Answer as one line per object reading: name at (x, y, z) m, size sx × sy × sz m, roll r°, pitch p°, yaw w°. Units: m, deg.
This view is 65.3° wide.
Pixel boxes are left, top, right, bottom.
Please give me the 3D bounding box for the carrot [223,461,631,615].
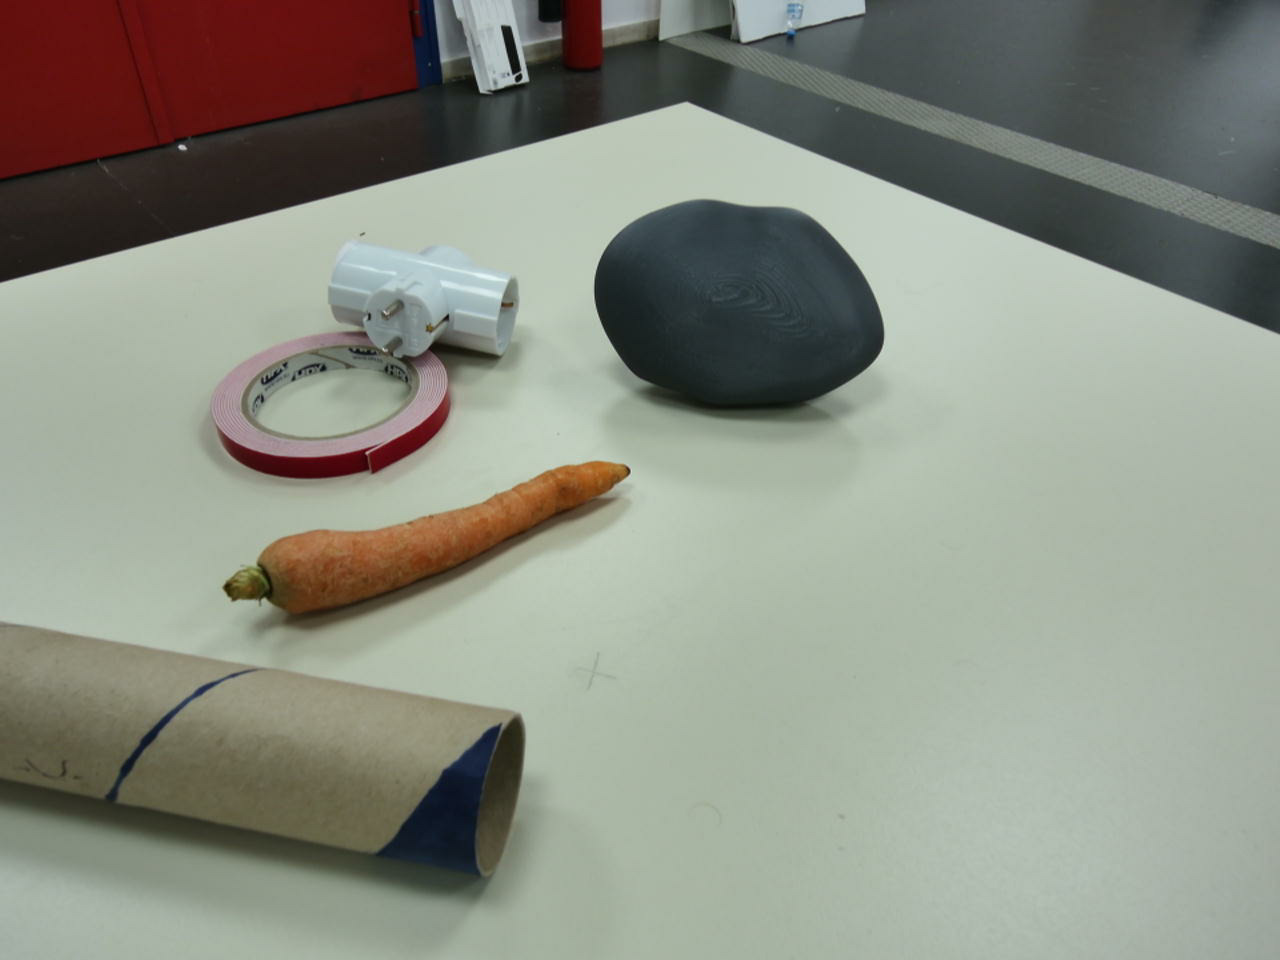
carrot at (-0.076, 0.018, 0.400) m, size 0.173 × 0.032 × 0.030 m, roll -19°, pitch 41°, yaw -25°
